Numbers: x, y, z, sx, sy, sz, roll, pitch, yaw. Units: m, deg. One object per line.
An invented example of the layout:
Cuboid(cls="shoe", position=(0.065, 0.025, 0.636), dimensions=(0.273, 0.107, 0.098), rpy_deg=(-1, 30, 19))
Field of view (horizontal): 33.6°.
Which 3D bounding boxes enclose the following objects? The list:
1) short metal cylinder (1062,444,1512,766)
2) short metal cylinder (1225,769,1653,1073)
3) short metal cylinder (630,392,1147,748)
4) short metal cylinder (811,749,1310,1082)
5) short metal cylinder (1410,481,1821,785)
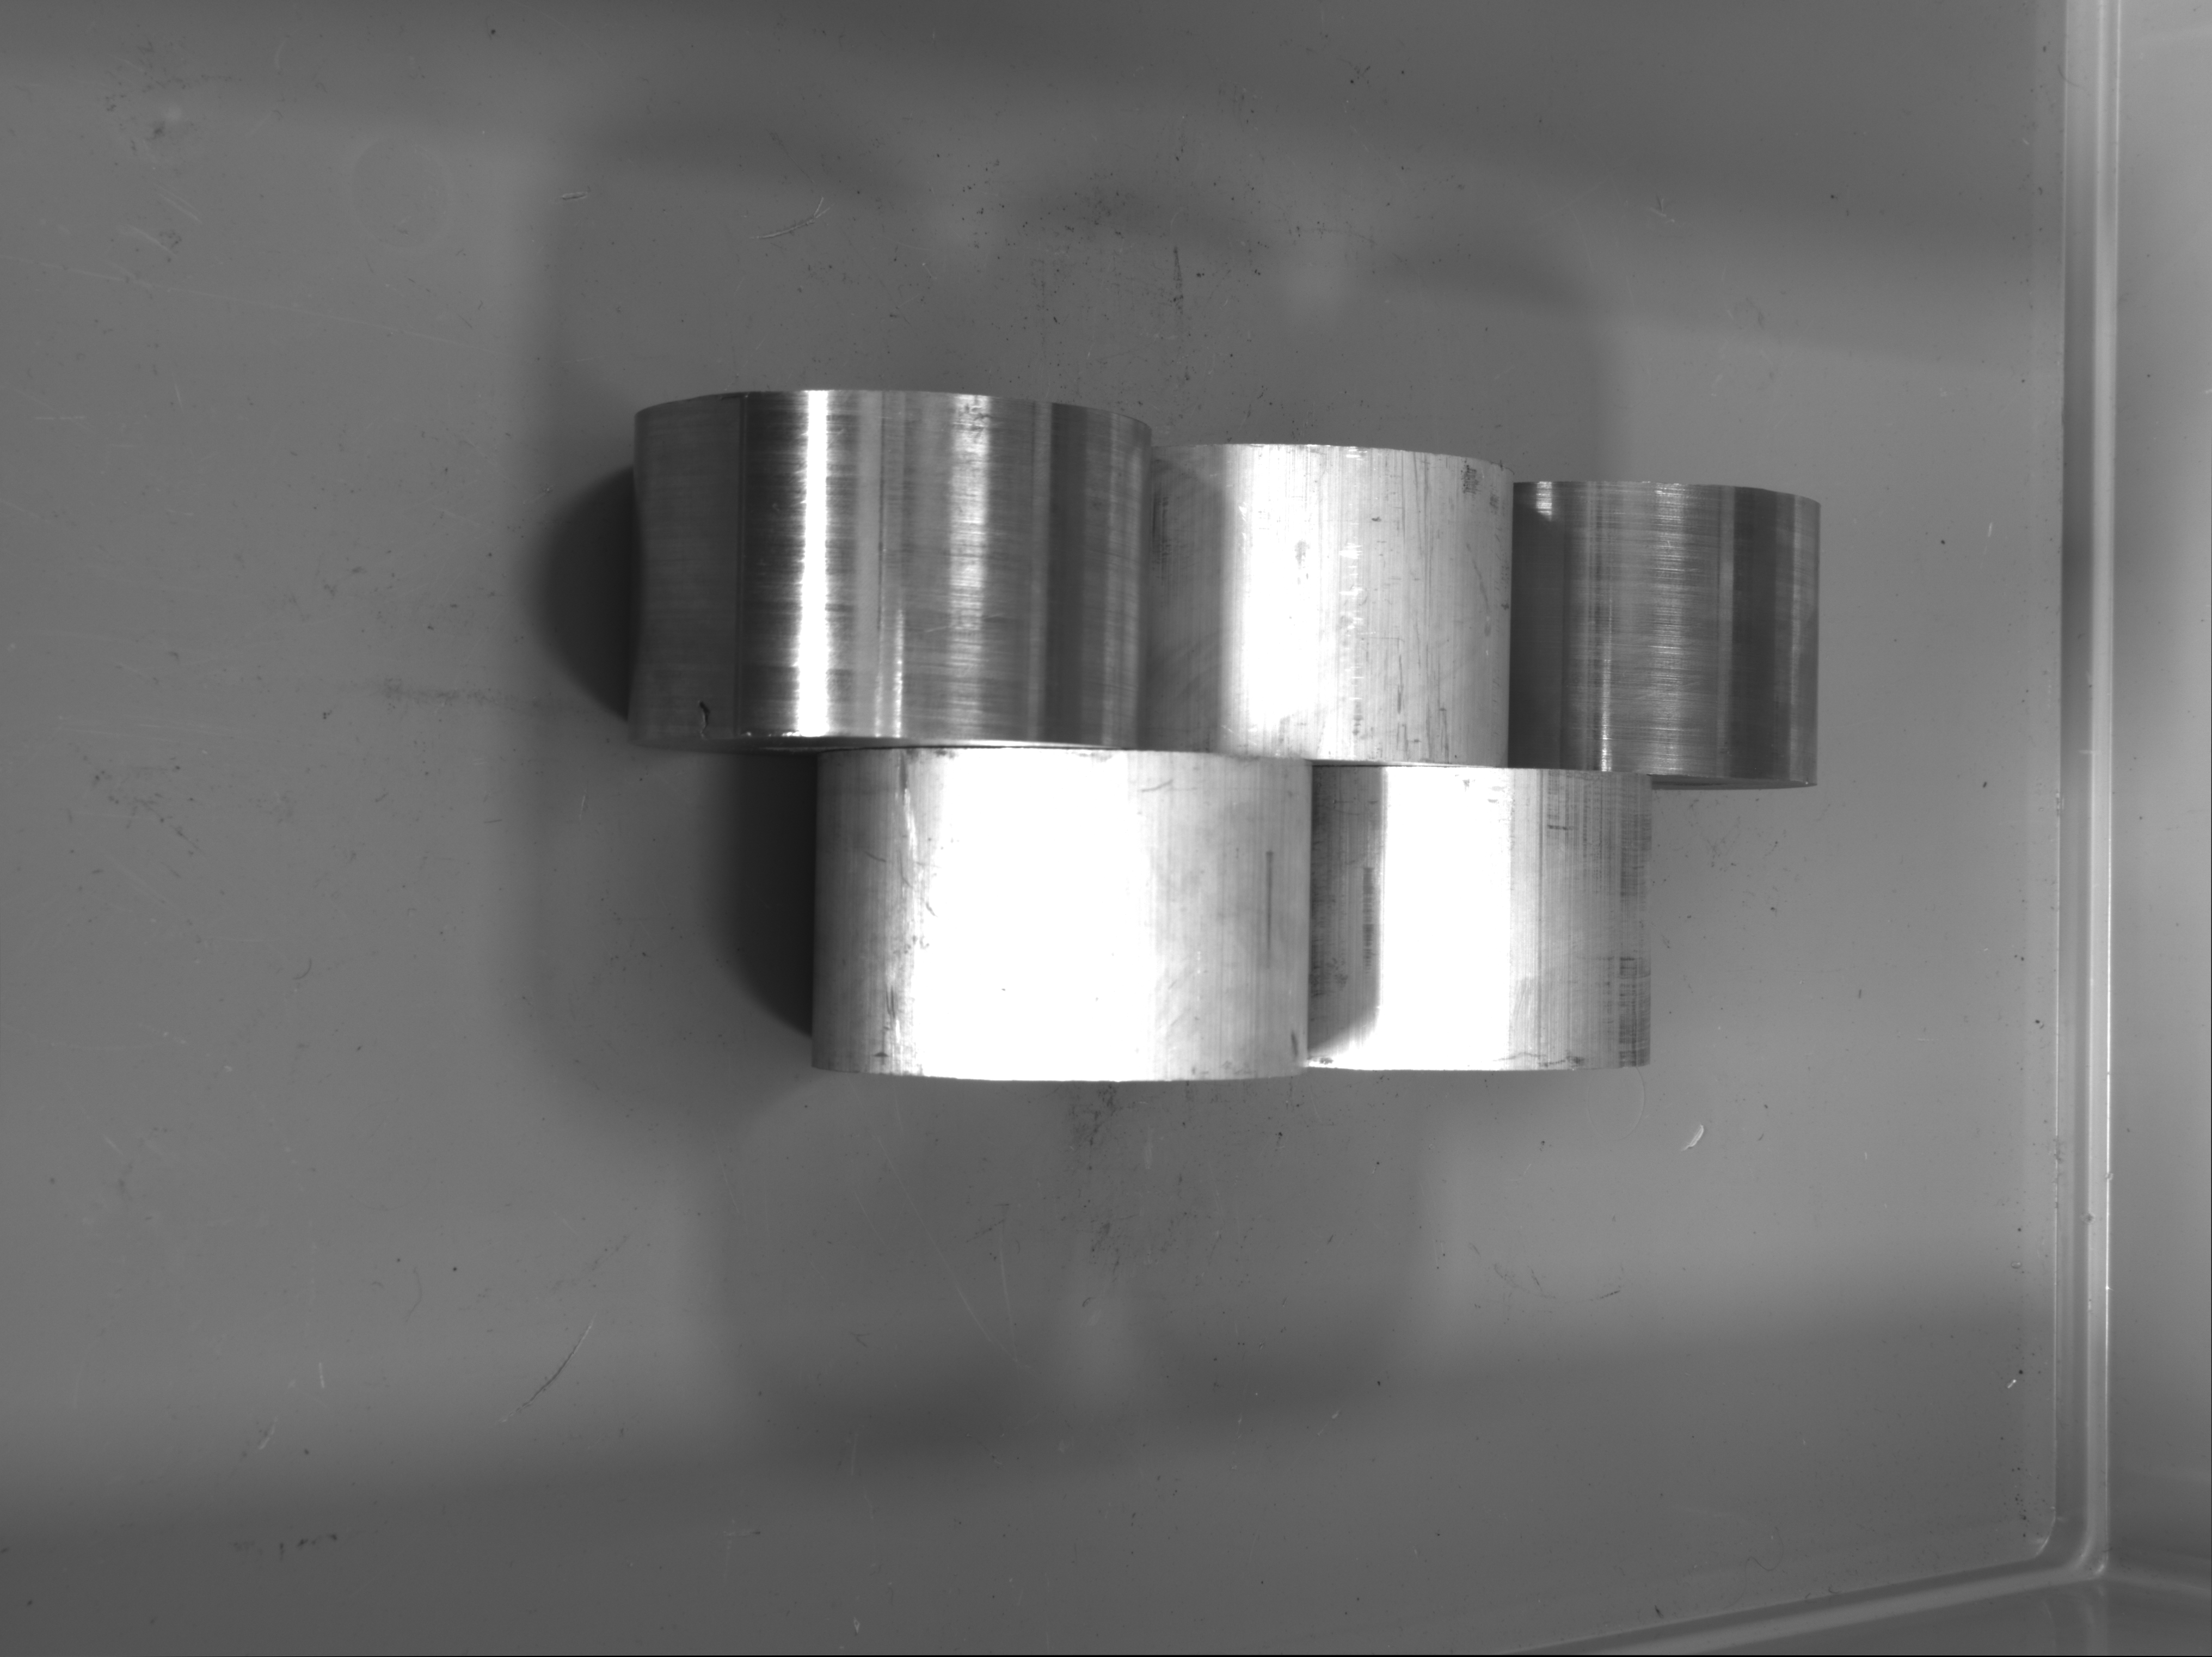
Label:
Cuboid(cls="short metal cylinder", position=(0.029, -0.036, 0.622), dimensions=(0.080, 0.080, 0.050), rpy_deg=(1, 89, -40))
Cuboid(cls="short metal cylinder", position=(0.056, 0.016, 0.645), dimensions=(0.080, 0.080, 0.050), rpy_deg=(1, 89, -40))
Cuboid(cls="short metal cylinder", position=(-0.034, -0.038, 0.570), dimensions=(0.080, 0.080, 0.050), rpy_deg=(1, 89, -40))
Cuboid(cls="short metal cylinder", position=(-0.007, 0.014, 0.592), dimensions=(0.080, 0.080, 0.050), rpy_deg=(1, 89, -40))
Cuboid(cls="short metal cylinder", position=(0.091, -0.034, 0.674), dimensions=(0.080, 0.080, 0.050), rpy_deg=(2, 88, -40))
